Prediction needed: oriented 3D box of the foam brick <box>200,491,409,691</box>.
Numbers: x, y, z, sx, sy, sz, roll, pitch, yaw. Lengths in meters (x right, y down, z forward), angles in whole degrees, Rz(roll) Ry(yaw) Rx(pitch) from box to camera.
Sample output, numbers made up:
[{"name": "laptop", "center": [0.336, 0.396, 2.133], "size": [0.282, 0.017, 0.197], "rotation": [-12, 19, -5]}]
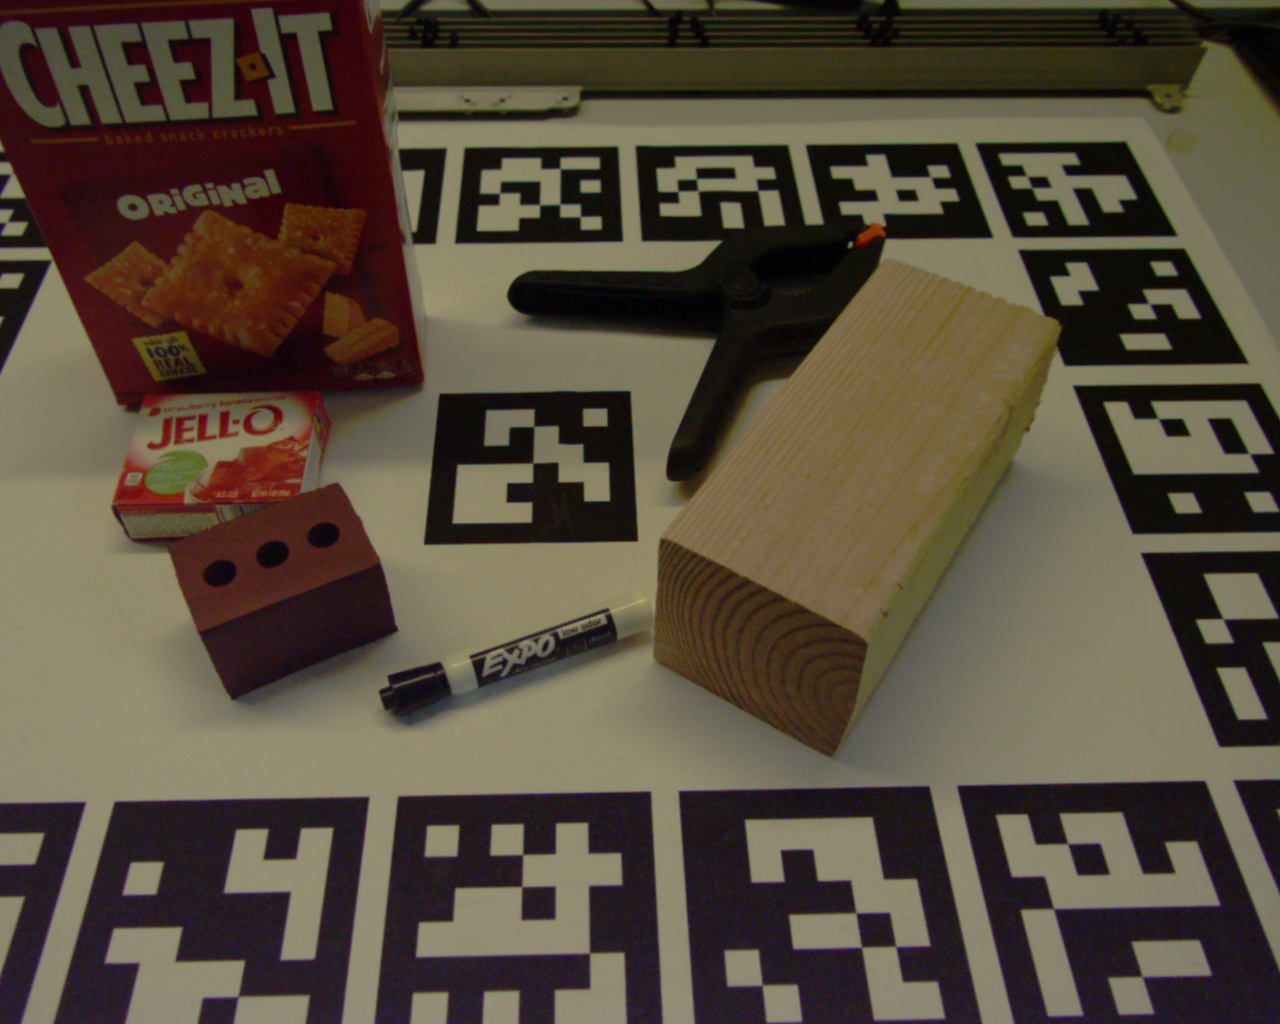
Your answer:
[{"name": "foam brick", "center": [-0.153, 0.035, 0.523], "size": [0.077, 0.051, 0.053], "rotation": [-22, 58, -16]}]

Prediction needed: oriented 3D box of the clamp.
[{"name": "clamp", "center": [0.051, -0.113, 0.647], "size": [0.201, 0.036, 0.167], "rotation": [-28, 58, -19]}]

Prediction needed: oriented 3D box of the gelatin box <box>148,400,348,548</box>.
[{"name": "gelatin box", "center": [-0.198, -0.021, 0.583], "size": [0.089, 0.030, 0.073], "rotation": [-3, 54, -2]}]

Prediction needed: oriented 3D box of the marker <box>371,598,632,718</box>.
[{"name": "marker", "center": [-0.063, 0.066, 0.518], "size": [0.120, 0.019, 0.020], "rotation": [-18, 57, -13]}]

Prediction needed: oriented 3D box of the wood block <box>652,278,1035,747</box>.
[{"name": "wood block", "center": [0.097, -0.008, 0.538], "size": [0.091, 0.090, 0.205], "rotation": [26, 54, 21]}]

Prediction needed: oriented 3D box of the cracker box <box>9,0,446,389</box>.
[{"name": "cracker box", "center": [-0.186, -0.160, 0.566], "size": [0.164, 0.213, 0.072], "rotation": [-3, 52, -6]}]
